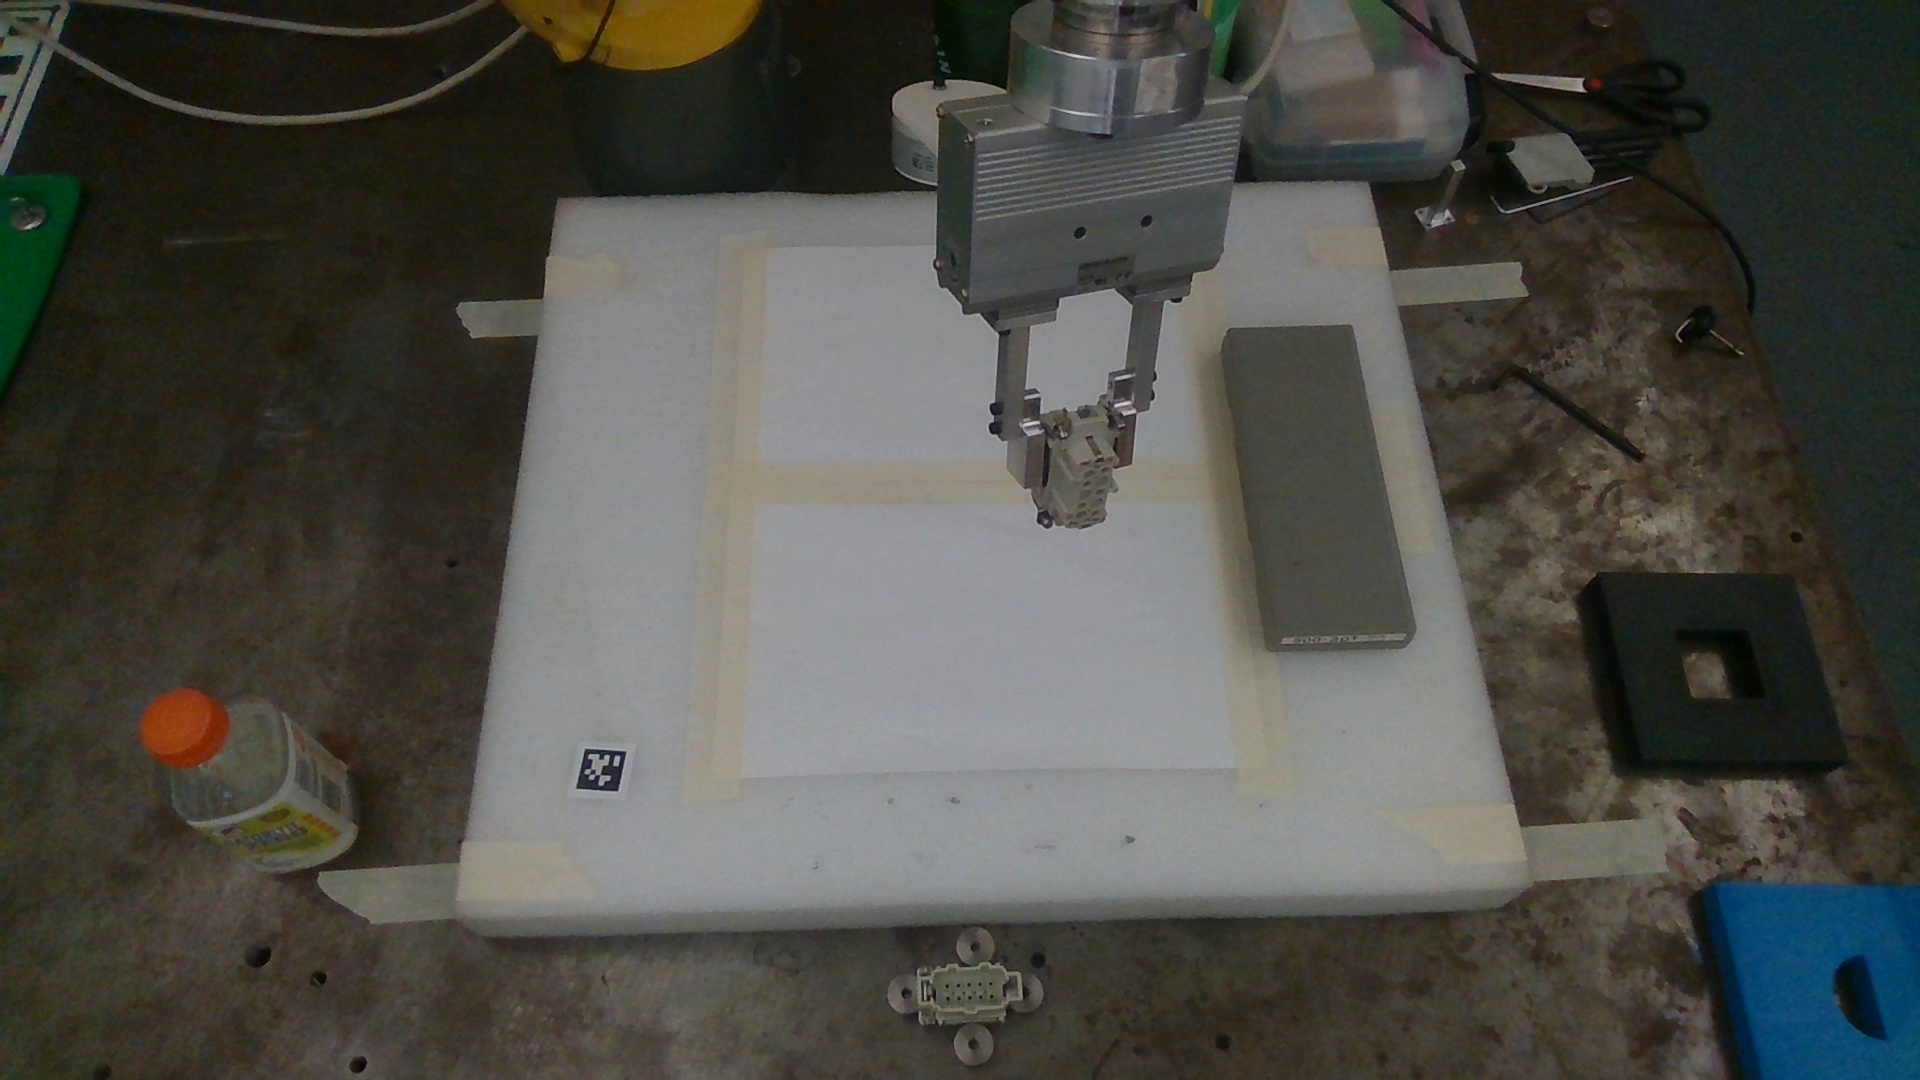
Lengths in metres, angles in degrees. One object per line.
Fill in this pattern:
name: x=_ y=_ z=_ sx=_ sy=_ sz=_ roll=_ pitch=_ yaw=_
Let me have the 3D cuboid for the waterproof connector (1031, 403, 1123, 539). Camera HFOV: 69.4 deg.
waterproof connector: x=0.057 y=-0.033 z=0.657 sx=0.036 sy=0.069 sz=0.039 roll=-9 pitch=40 yaw=-15
